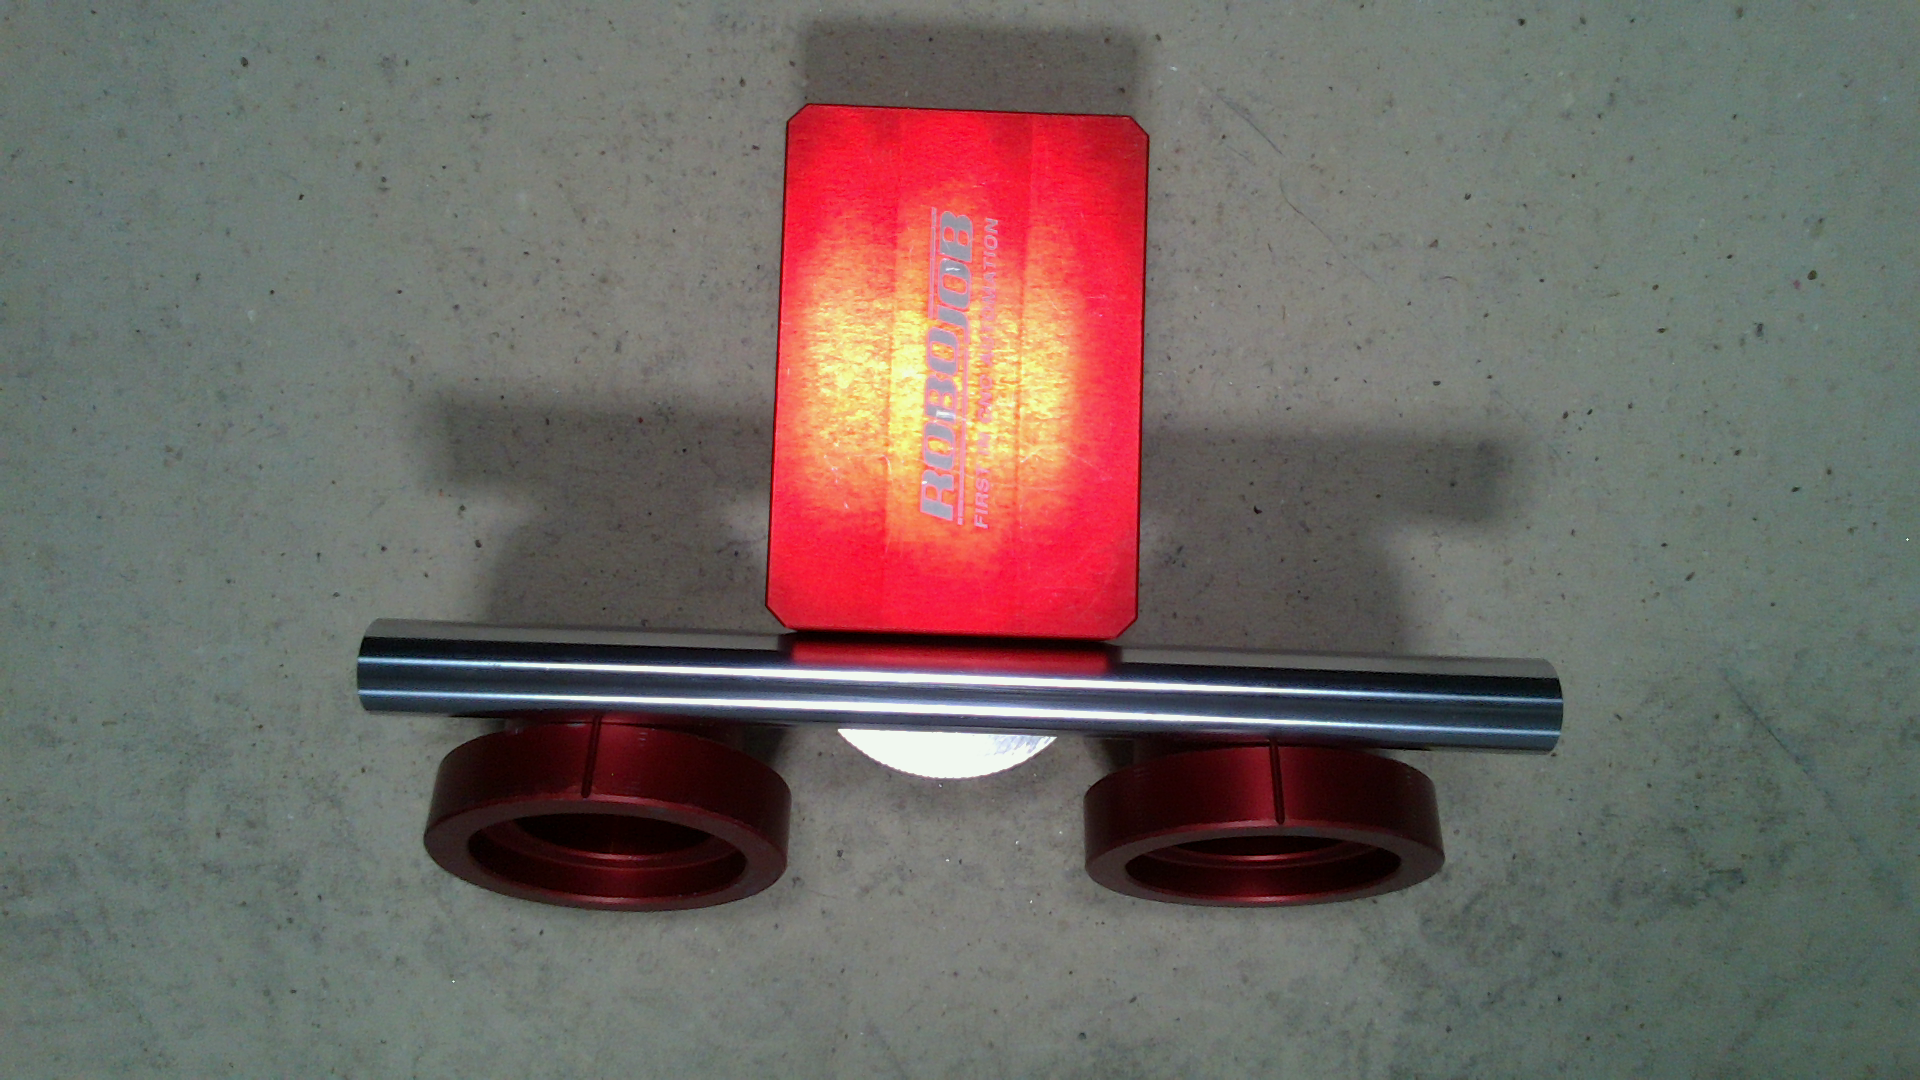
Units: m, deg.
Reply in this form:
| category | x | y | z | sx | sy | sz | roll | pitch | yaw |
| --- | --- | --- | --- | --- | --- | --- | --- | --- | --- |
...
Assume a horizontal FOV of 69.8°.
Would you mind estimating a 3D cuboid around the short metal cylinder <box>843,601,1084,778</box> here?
| category | x | y | z | sx | sy | sz | roll | pitch | yaw |
| --- | --- | --- | --- | --- | --- | --- | --- | --- | --- |
| short metal cylinder | -0.003 | 0.019 | 0.388 | 0.080 | 0.050 | 0.080 | 0 | 110 | 0 |

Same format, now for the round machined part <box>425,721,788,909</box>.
| category | x | y | z | sx | sy | sz | roll | pitch | yaw |
| --- | --- | --- | --- | --- | --- | --- | --- | --- | --- |
| round machined part | -0.098 | 0.072 | 0.394 | 0.098 | 0.042 | 0.098 | -1 | 148 | 0 |

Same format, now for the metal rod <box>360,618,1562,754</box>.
| category | x | y | z | sx | sy | sz | roll | pitch | yaw |
| --- | --- | --- | --- | --- | --- | --- | --- | --- | --- |
| metal rod | 0.001 | 0.038 | 0.355 | 0.300 | 0.025 | 0.025 | 2 | 110 | -1 |

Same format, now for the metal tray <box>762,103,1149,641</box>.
| category | x | y | z | sx | sy | sz | roll | pitch | yaw |
| --- | --- | --- | --- | --- | --- | --- | --- | --- | --- |
| metal tray | 0.000 | -0.041 | 0.348 | 0.090 | 0.030 | 0.130 | 2 | 84 | -1 |

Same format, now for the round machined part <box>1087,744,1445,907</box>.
| category | x | y | z | sx | sy | sz | roll | pitch | yaw |
| --- | --- | --- | --- | --- | --- | --- | --- | --- | --- |
| round machined part | 0.085 | 0.074 | 0.394 | 0.098 | 0.042 | 0.098 | 0 | 153 | 0 |
